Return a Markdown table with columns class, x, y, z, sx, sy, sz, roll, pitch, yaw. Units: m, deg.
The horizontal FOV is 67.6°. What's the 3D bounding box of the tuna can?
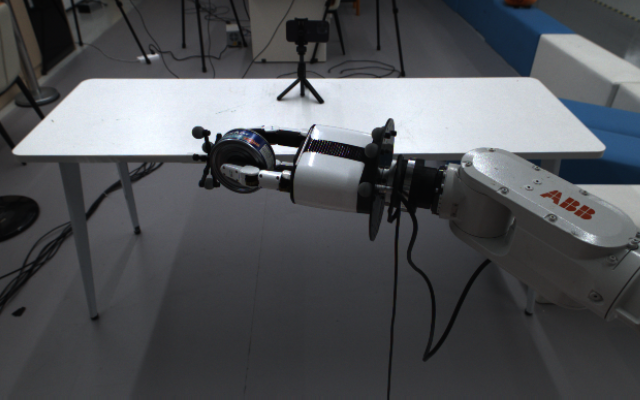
| class | x | y | z | sx | sy | sz | roll | pitch | yaw |
| --- | --- | --- | --- | --- | --- | --- | --- | --- | --- |
| tuna can | -0.105 | -0.054 | 0.661 | 0.085 | 0.085 | 0.034 | 9 | 33 | 10 |
